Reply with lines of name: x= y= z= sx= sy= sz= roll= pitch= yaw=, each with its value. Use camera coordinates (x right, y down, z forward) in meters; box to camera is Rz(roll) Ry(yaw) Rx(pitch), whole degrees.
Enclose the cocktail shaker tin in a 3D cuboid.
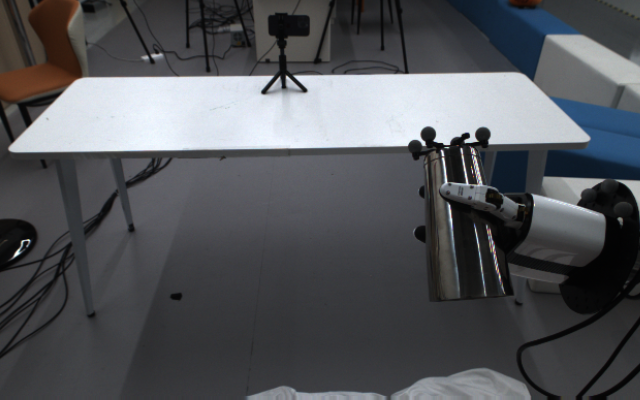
cocktail shaker tin: x=0.165 y=0.028 z=0.562 sx=0.093 sy=0.093 sz=0.170 roll=-3 pitch=76 yaw=-8
